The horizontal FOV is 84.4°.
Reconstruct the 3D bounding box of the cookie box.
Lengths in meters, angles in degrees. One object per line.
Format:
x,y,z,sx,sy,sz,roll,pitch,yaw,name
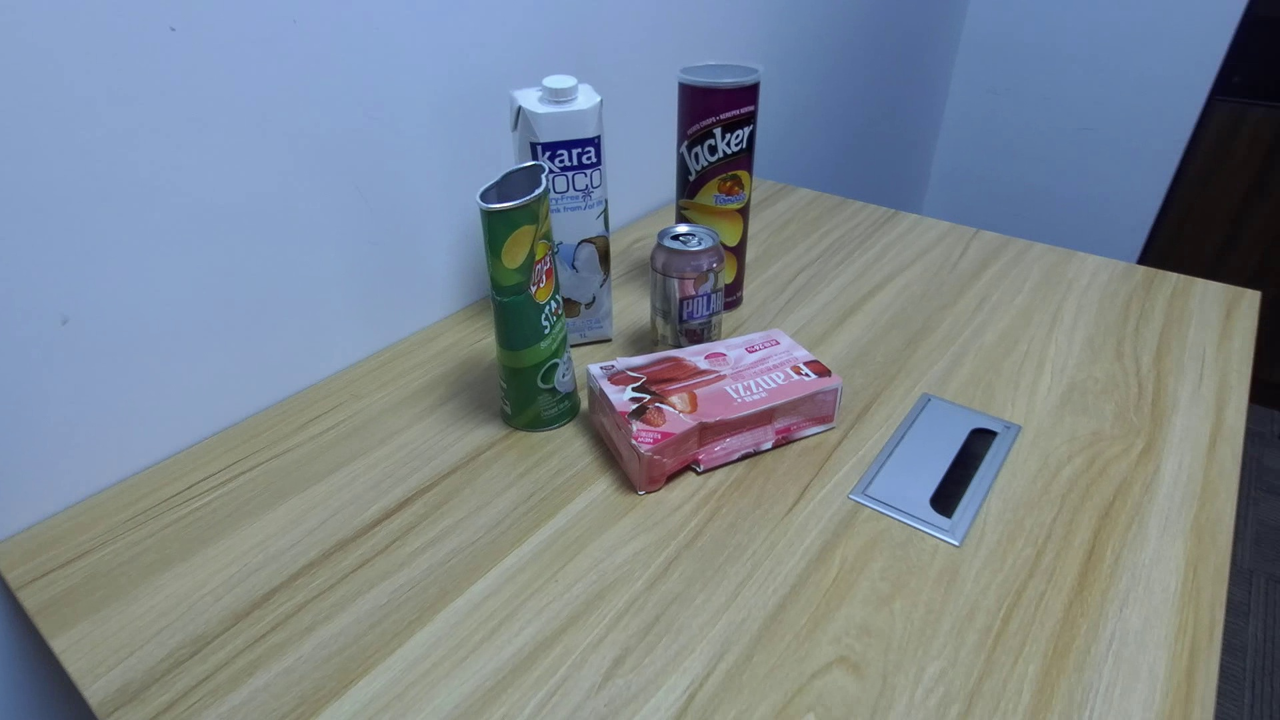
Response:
0.061,0.029,0.568,0.186,0.059,0.104,-15,39,-22,cookie box

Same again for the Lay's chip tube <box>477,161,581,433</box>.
-0.088,-0.043,0.557,0.069,0.200,0.074,-16,35,-22,Lay's chip tube

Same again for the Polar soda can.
0.043,-0.055,0.638,0.067,0.126,0.067,-1,33,1,Polar soda can

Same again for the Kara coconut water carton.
-0.068,-0.131,0.645,0.077,0.245,0.075,-9,33,-12,Kara coconut water carton

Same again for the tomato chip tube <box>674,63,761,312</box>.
0.074,-0.162,0.699,0.078,0.234,0.078,-1,33,1,tomato chip tube
